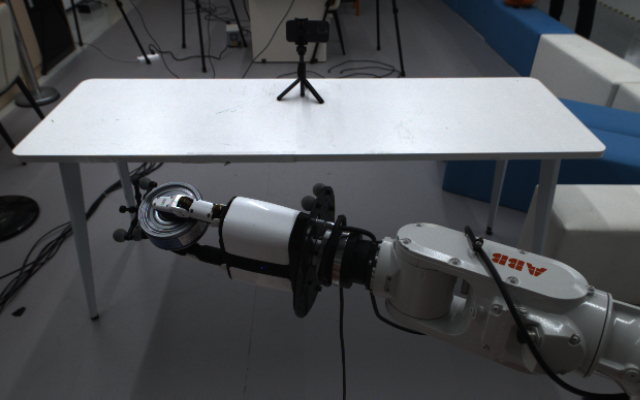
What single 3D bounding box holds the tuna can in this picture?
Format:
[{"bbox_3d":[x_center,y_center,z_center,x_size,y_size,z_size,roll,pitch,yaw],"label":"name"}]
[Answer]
[{"bbox_3d":[-0.186,0.020,0.623,0.085,0.034,0.085,-2,58,3],"label":"tuna can"}]
